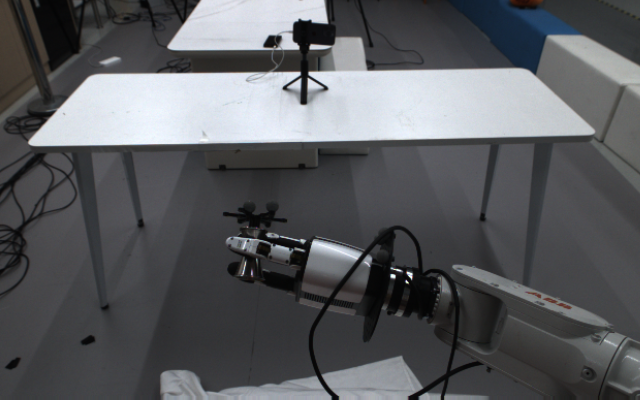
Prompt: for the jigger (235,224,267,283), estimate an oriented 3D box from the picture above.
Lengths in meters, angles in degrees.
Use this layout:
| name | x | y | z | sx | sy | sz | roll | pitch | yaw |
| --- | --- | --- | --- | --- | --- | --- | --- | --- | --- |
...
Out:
| name | x | y | z | sx | sy | sz | roll | pitch | yaw |
| --- | --- | --- | --- | --- | --- | --- | --- | --- | --- |
| jigger | -0.095 | 0.073 | 0.663 | 0.043 | 0.043 | 0.071 | 3 | 75 | 2 |
